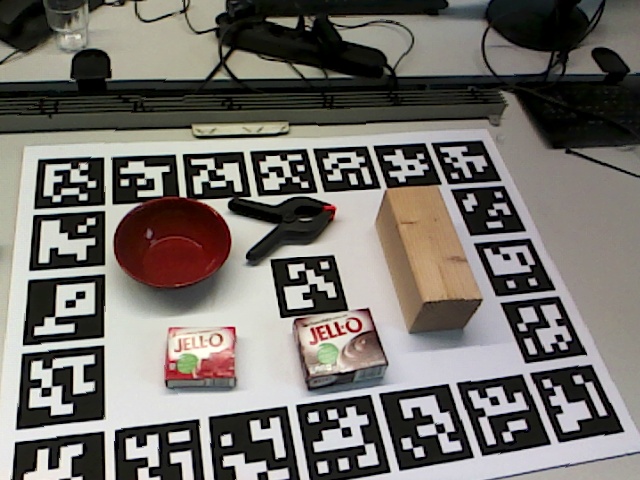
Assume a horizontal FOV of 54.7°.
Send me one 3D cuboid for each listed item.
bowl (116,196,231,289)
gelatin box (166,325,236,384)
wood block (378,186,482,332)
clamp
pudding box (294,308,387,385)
[{"bbox_3d":[-0.214,0.013,0.912,0.161,0.055,0.162,5,55,-8],"label":"bowl"},{"bbox_3d":[-0.157,0.152,0.824,0.089,0.030,0.073,2,55,-8],"label":"gelatin box"},{"bbox_3d":[0.161,0.025,0.936,0.089,0.091,0.207,-2,54,-13],"label":"wood block"},{"bbox_3d":[-0.067,-0.026,0.981,0.164,0.036,0.122,-13,56,-21],"label":"clamp"},{"bbox_3d":[0.026,0.146,0.856,0.113,0.038,0.090,-6,59,-11],"label":"pudding box"}]
